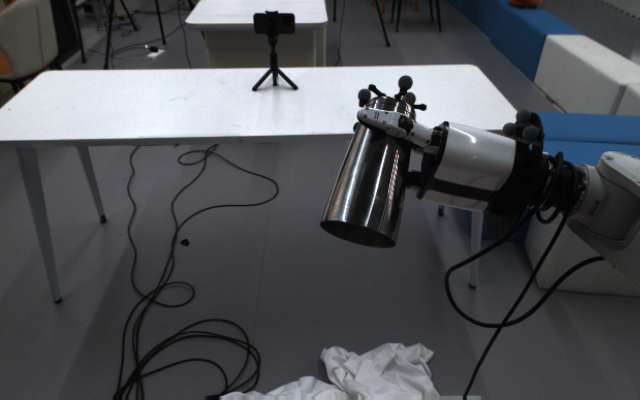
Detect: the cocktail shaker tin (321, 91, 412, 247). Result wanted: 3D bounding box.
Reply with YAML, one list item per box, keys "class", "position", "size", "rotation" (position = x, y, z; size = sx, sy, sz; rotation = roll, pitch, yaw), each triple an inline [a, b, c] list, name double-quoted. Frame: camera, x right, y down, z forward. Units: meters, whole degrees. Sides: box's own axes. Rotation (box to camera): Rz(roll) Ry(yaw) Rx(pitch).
- class: "cocktail shaker tin"
  position: [0.068, -0.039, 0.593]
  size: [0.093, 0.093, 0.170]
  rotation: [12, 72, 14]
